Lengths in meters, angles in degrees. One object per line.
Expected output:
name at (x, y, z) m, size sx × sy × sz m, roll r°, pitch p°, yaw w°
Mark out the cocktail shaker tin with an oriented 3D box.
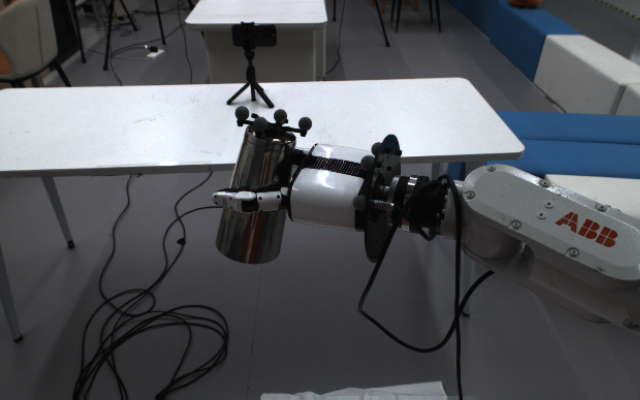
cocktail shaker tin at (-0.080, -0.012, 0.647) m, size 0.093 × 0.170 × 0.093 m, roll 12°, pitch 24°, yaw -5°
